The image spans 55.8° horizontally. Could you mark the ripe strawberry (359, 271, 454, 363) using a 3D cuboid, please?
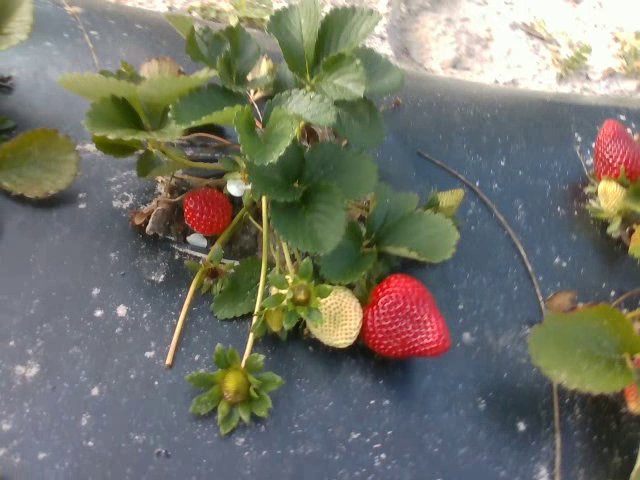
[{"bbox_3d":[0.051,0.050,0.340,0.048,0.051,0.055,30,7,-41],"label":"ripe strawberry"}]
